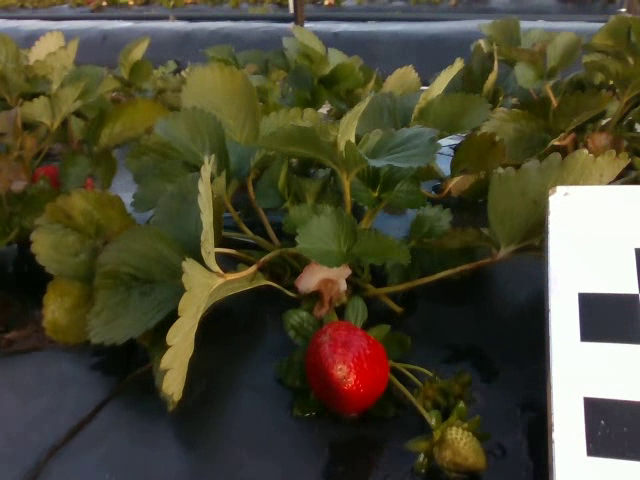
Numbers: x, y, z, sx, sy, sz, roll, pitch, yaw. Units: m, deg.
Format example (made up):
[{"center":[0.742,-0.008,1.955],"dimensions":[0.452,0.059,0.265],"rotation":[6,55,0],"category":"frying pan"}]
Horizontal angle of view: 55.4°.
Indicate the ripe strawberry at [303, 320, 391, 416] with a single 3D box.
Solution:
[{"center":[0.013,0.061,0.282],"dimensions":[0.043,0.052,0.057],"rotation":[-24,-11,7],"category":"ripe strawberry"}]
